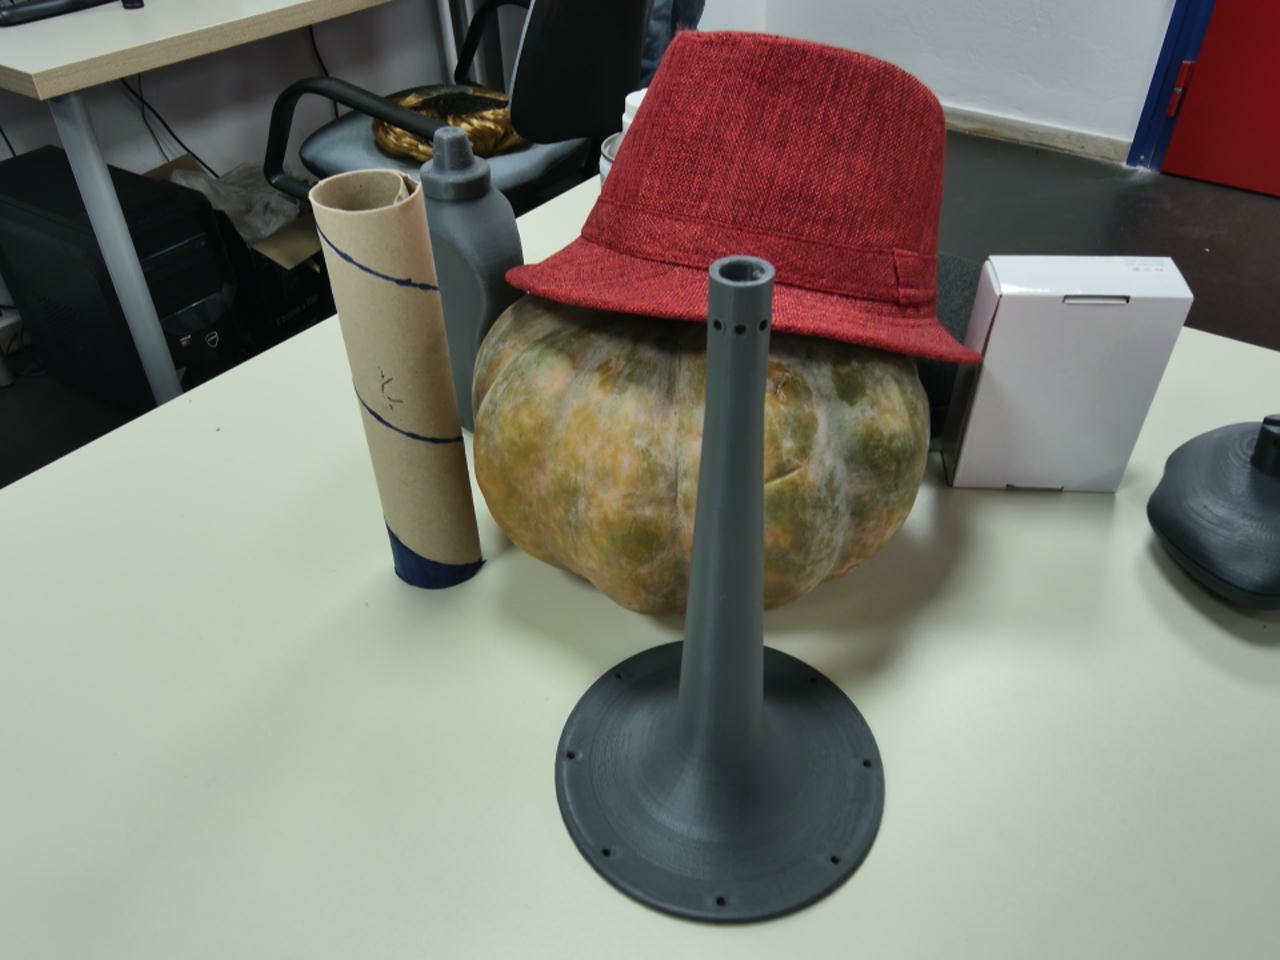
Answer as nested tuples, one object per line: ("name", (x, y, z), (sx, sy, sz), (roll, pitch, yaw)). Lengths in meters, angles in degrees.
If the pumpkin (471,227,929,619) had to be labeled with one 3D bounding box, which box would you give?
("pumpkin", (0.029, -0.037, 0.538), (0.252, 0.169, 0.251), (0, 38, 0))
